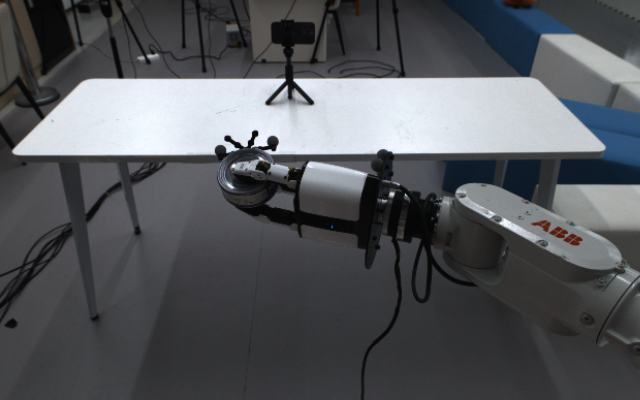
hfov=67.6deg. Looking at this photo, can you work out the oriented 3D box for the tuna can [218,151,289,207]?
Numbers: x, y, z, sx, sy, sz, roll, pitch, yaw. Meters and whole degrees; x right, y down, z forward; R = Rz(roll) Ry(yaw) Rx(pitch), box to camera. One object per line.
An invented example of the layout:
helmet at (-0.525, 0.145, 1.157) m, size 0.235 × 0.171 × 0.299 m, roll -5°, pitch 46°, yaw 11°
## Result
tuna can at (-0.099, -0.027, 0.690) m, size 0.085 × 0.034 × 0.085 m, roll -3°, pitch 58°, yaw 5°
